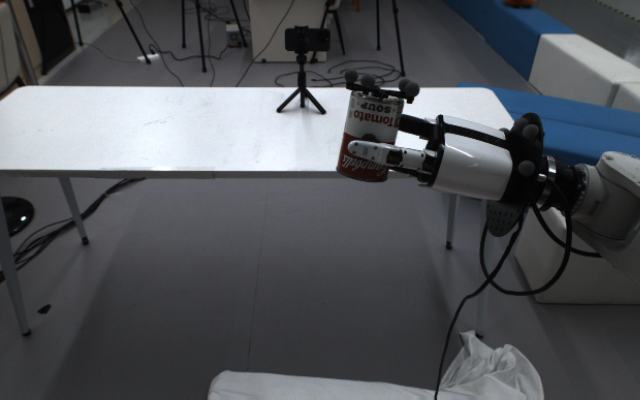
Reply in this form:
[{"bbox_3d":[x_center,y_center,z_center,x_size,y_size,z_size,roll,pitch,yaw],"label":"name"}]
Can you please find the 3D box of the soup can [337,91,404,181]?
[{"bbox_3d":[0.063,-0.082,0.607,0.067,0.101,0.067,9,20,-3],"label":"soup can"}]
